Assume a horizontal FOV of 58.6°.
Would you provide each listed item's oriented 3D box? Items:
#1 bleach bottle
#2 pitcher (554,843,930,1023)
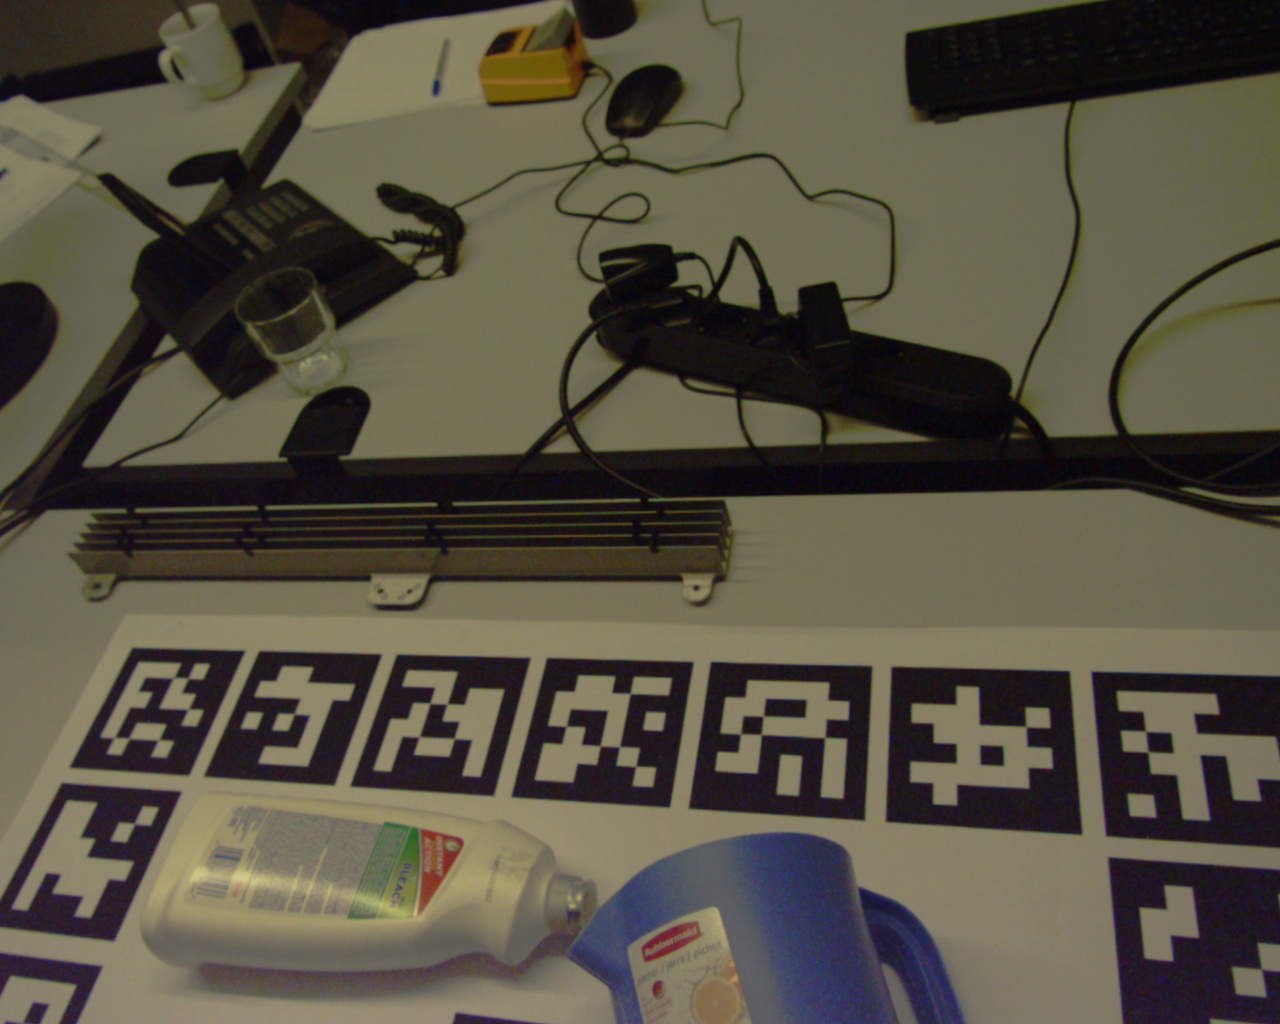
[{"bbox_3d":[-0.160,0.220,0.681,0.252,0.067,0.103,-2,55,14],"label":"bleach bottle"},{"bbox_3d":[0.070,0.289,0.526,0.186,0.134,0.244,3,48,-26],"label":"pitcher"}]
